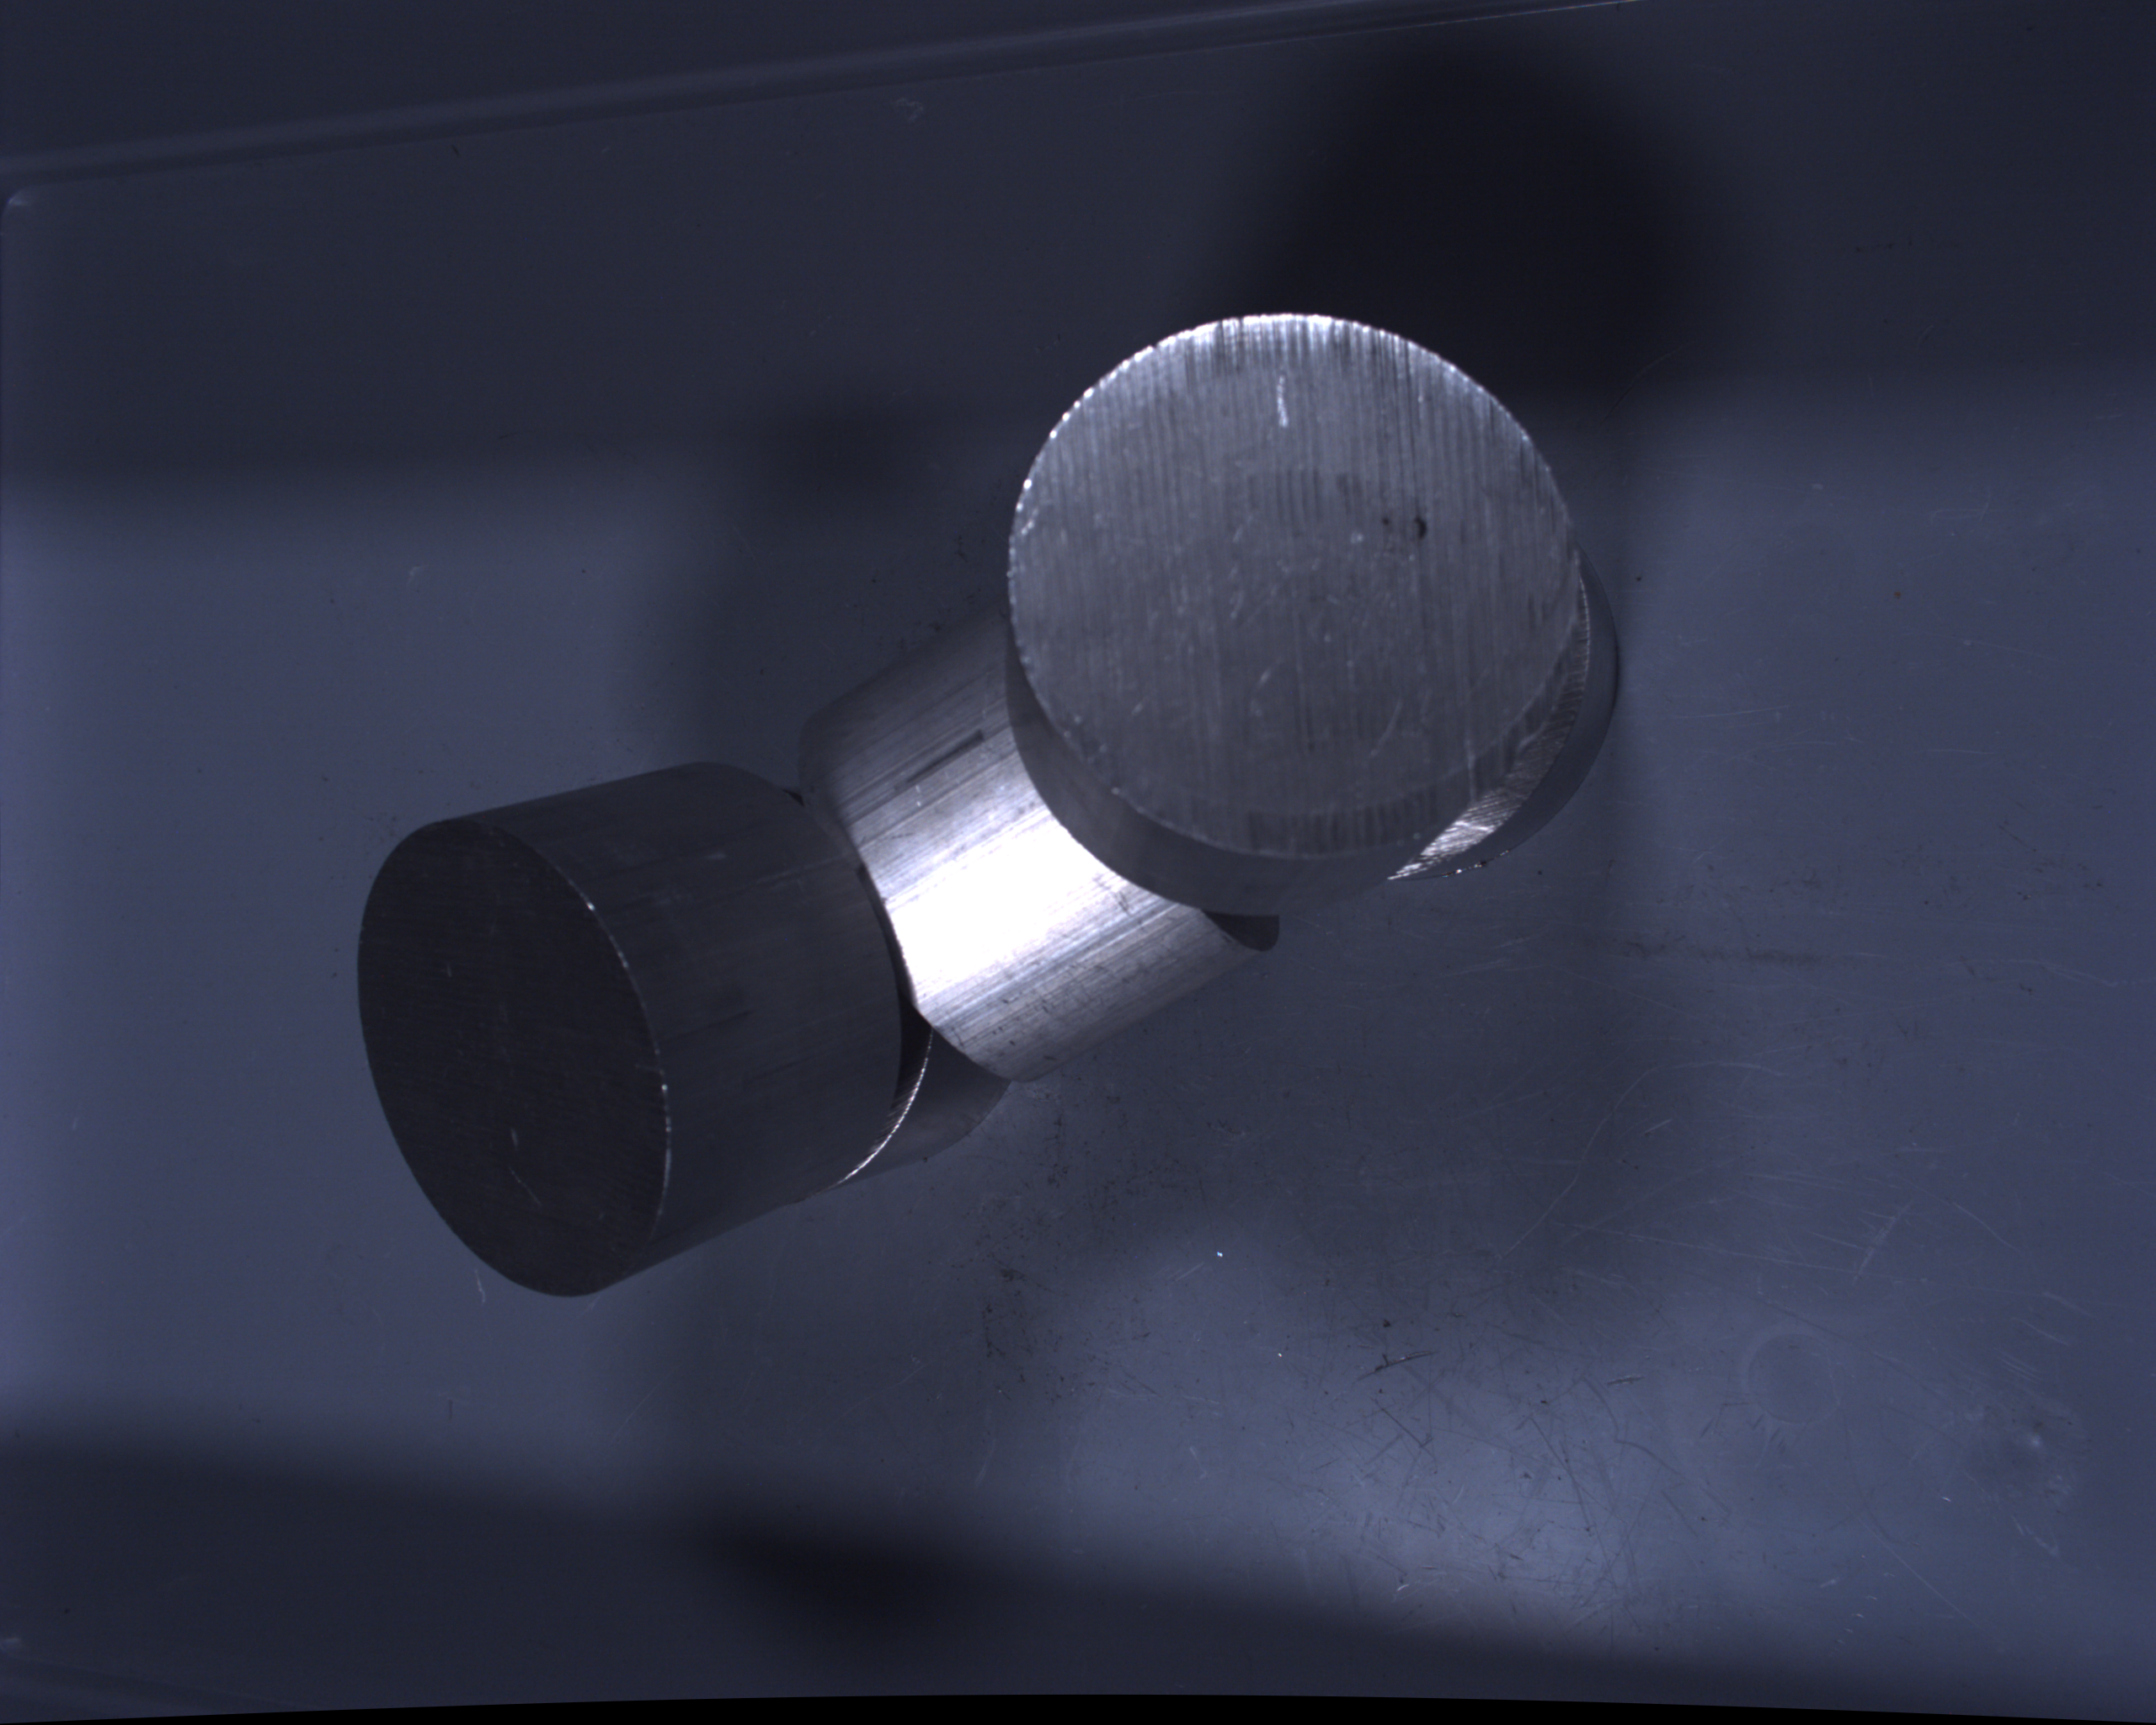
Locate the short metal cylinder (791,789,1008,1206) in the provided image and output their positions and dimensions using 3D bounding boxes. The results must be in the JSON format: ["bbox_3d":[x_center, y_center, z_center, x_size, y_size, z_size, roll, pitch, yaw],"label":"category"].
[{"bbox_3d":[-0.055,0.025,0.414,0.080,0.050,0.079,0,90,19],"label":"short metal cylinder"}]

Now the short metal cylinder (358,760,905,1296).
[{"bbox_3d":[-0.076,0.026,0.353,0.080,0.050,0.079,12,110,37],"label":"short metal cylinder"}]

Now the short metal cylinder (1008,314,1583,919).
[{"bbox_3d":[0.030,-0.035,0.315,0.081,0.050,0.080,1,78,-2],"label":"short metal cylinder"}]

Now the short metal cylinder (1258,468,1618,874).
[{"bbox_3d":[0.054,-0.037,0.376,0.080,0.050,0.079,0,90,19],"label":"short metal cylinder"}]

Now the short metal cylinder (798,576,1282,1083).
[{"bbox_3d":[-0.006,-0.007,0.381,0.050,0.080,0.080,-31,80,17],"label":"short metal cylinder"}]
